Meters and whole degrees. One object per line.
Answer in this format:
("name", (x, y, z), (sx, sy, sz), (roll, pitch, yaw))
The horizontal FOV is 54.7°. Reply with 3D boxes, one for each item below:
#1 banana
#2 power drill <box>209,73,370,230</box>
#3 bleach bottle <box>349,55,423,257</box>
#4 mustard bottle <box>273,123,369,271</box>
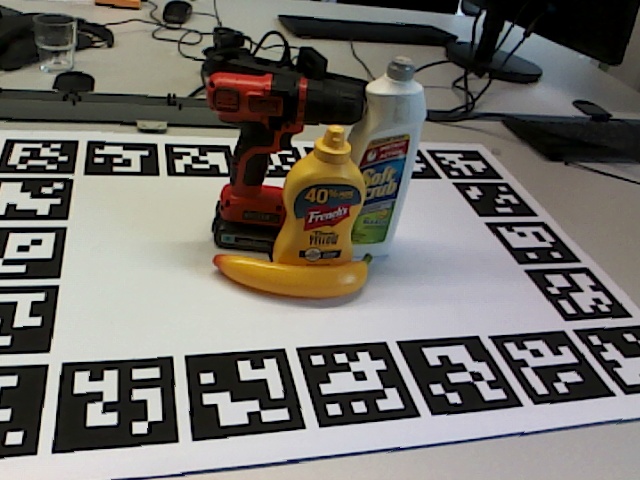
("banana", (-0.021, 0.042, 0.731), (0.197, 0.039, 0.074), (1, 38, -10))
("power drill", (-0.046, -0.103, 0.743), (0.184, 0.187, 0.057), (8, 34, -7))
("bleach bottle", (0.064, -0.099, 0.760), (0.102, 0.250, 0.068), (1, 31, -14))
("mustard bottle", (0.005, -0.044, 0.710), (0.096, 0.191, 0.059), (0, 37, -16))
